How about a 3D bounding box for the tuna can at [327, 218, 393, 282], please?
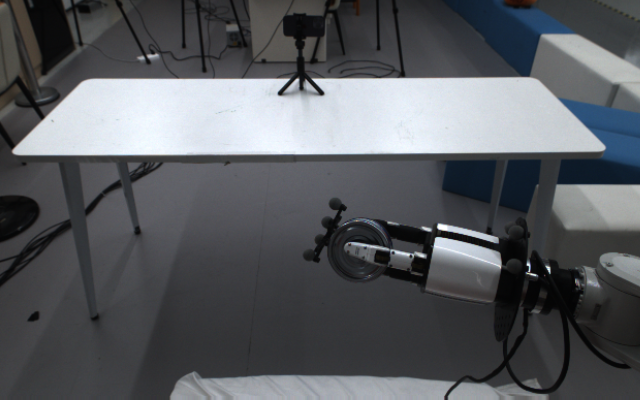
[{"bbox_3d":[0.057,0.065,0.653,0.085,0.085,0.034,8,5,8],"label":"tuna can"}]
